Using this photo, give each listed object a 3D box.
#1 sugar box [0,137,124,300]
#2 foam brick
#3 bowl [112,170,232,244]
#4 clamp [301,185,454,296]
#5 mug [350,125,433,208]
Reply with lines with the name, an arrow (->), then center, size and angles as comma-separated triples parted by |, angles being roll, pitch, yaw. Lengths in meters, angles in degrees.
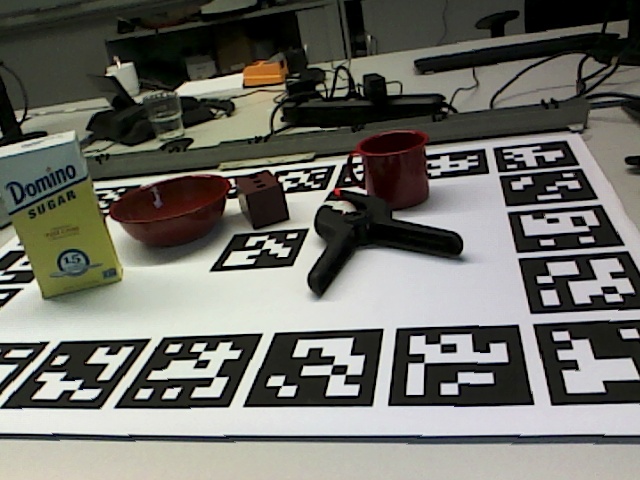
sugar box -> -0.298, -0.022, 0.717 | 0.093, 0.176, 0.045 | -14, 30, -9
foam brick -> -0.075, -0.054, 0.839 | 0.052, 0.051, 0.078 | -18, 29, -10
bowl -> -0.194, -0.040, 0.840 | 0.162, 0.055, 0.162 | -8, 28, 4
clamp -> 0.040, -0.016, 0.716 | 0.165, 0.036, 0.204 | -17, 29, -6
mug -> 0.091, -0.097, 0.809 | 0.118, 0.081, 0.093 | 14, 37, 34
